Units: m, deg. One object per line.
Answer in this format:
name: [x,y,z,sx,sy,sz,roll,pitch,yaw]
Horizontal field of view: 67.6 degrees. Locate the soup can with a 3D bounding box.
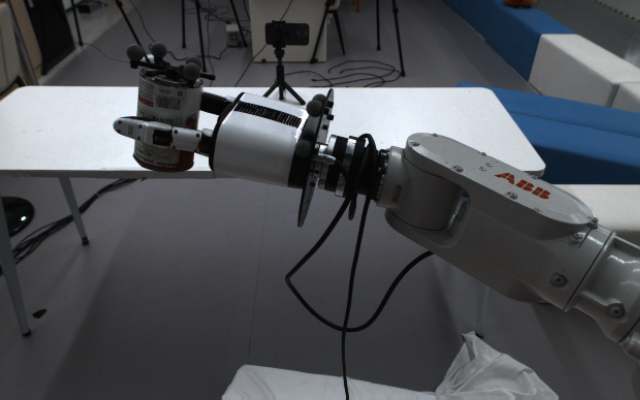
soup can: [-0.170,-0.090,0.544,0.067,0.101,0.067,12,25,-6]
